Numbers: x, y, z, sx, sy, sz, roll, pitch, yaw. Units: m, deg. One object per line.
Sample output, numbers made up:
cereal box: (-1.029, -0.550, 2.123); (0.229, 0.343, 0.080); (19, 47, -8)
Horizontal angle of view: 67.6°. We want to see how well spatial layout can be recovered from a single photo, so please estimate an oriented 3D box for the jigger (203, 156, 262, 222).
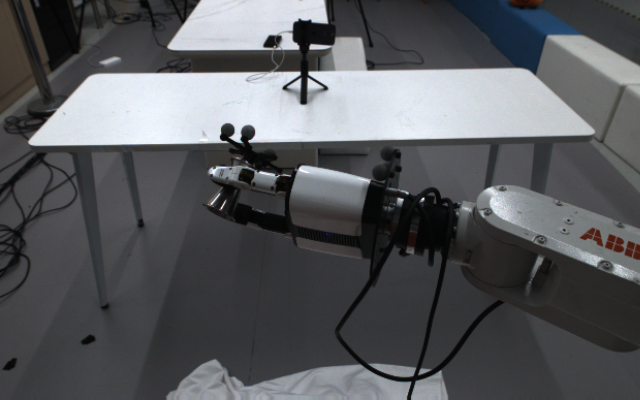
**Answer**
jigger: (-0.108, -0.016, 0.586); (0.043, 0.043, 0.071); (20, 73, 24)
